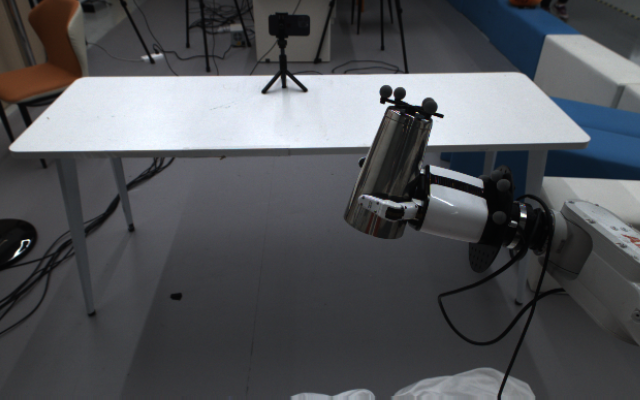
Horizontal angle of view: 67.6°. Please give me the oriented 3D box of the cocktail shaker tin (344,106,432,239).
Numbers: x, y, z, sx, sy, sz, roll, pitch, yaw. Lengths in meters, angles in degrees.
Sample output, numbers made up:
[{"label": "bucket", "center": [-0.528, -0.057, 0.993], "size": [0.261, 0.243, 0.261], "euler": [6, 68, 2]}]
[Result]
[{"label": "cocktail shaker tin", "center": [0.101, -0.041, 0.688], "size": [0.093, 0.170, 0.093], "euler": [14, 20, -5]}]
